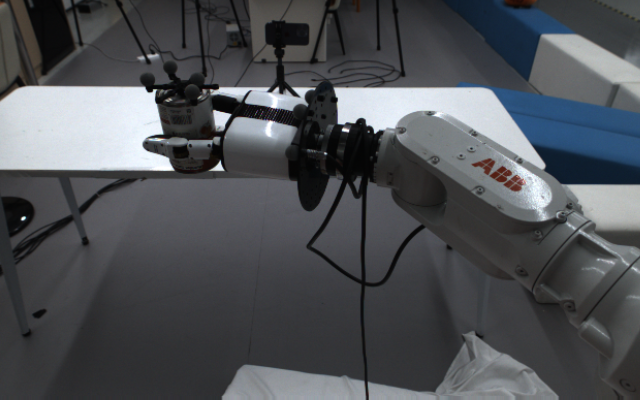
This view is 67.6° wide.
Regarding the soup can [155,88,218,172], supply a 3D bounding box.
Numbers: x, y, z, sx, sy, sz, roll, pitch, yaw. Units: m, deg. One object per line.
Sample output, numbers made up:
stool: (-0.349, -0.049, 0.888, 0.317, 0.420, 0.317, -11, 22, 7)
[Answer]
soup can: (-0.168, -0.092, 0.624, 0.067, 0.101, 0.067, 0, 39, 0)
